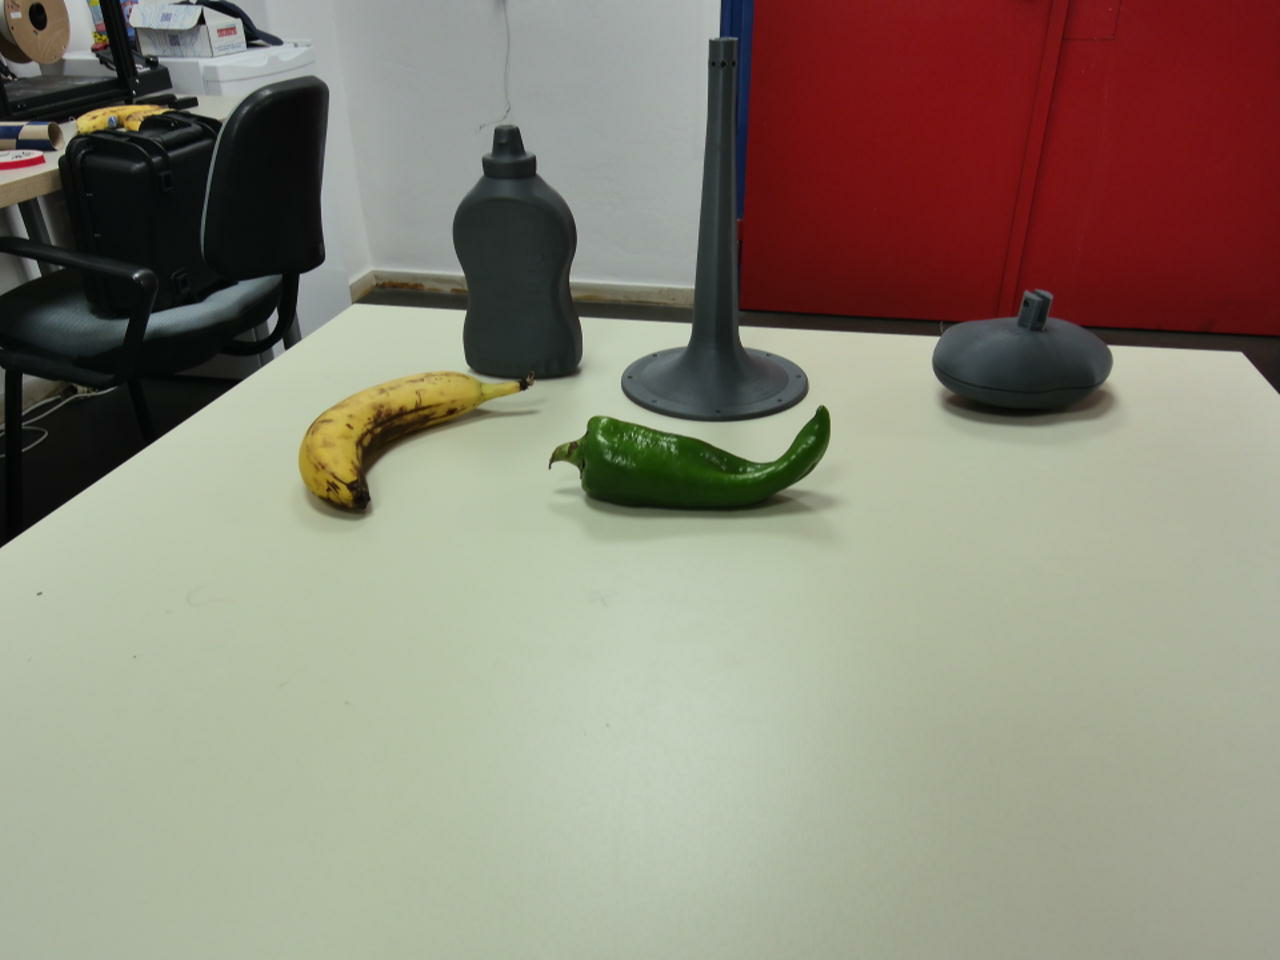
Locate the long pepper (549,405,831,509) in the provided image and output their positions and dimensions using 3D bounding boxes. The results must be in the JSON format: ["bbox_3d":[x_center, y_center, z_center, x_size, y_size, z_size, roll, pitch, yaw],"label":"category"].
[{"bbox_3d":[0.029,-0.017,0.620,0.175,0.065,0.058,4,27,9],"label":"long pepper"}]
